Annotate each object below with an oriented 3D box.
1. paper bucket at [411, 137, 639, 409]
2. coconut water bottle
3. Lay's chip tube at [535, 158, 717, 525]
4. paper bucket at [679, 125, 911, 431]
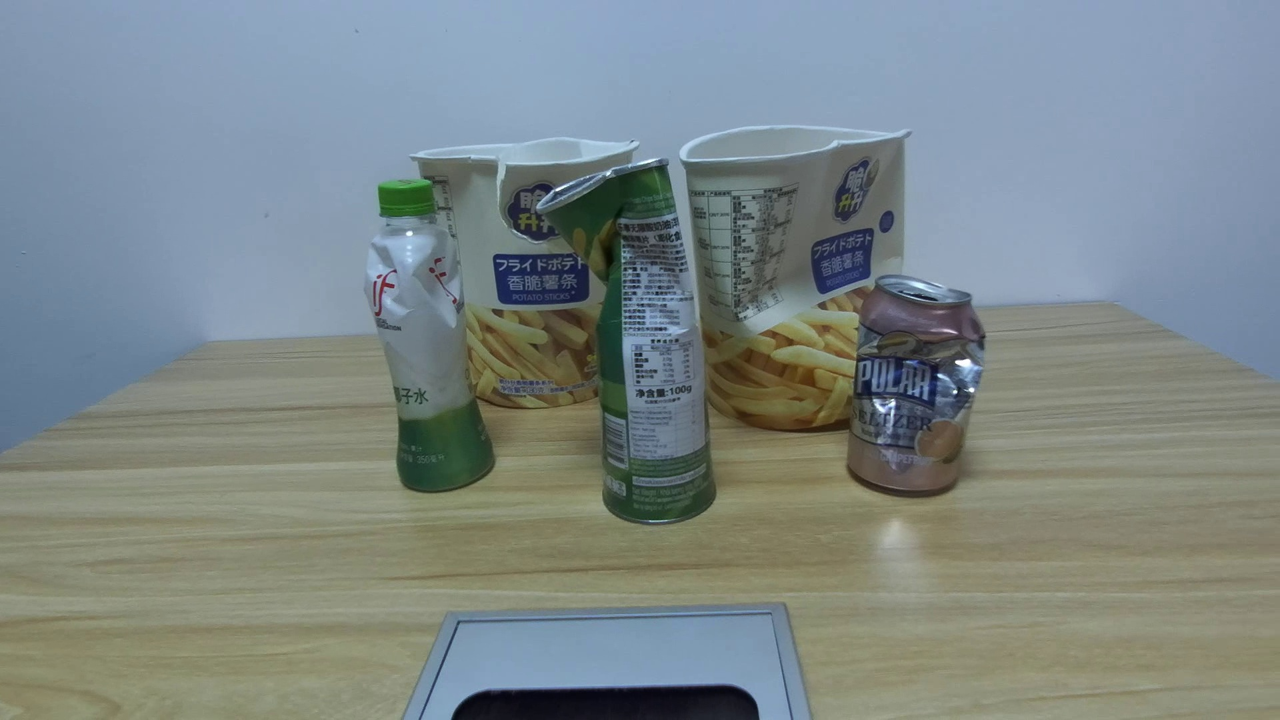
[{"bbox_3d":[-0.082,-0.077,0.585,0.146,0.197,0.201,-22,28,-38],"label":"paper bucket"},{"bbox_3d":[-0.133,-0.015,0.442,0.067,0.187,0.067,-2,19,1],"label":"coconut water bottle"},{"bbox_3d":[-0.003,-0.007,0.393,0.071,0.199,0.079,-13,20,-5],"label":"Lay's chip tube"},{"bbox_3d":[0.122,-0.066,0.521,0.147,0.199,0.218,3,21,16],"label":"paper bucket"}]
